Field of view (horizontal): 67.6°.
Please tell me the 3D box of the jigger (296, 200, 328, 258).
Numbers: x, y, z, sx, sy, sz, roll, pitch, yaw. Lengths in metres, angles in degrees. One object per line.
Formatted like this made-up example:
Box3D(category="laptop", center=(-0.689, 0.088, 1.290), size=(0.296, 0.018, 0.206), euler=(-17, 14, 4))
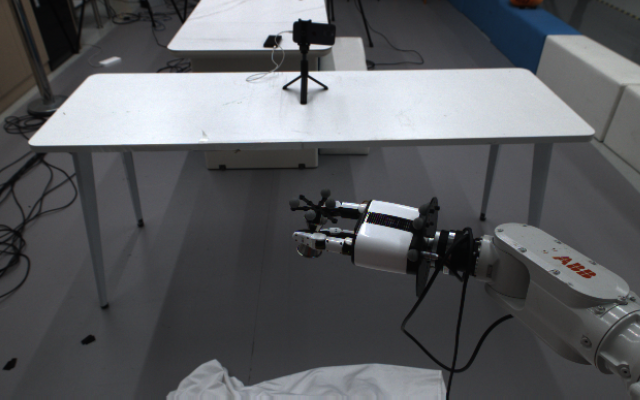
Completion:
Box3D(category="jigger", center=(-0.013, 0.056, 0.809), size=(0.043, 0.071, 0.043), euler=(9, 30, -5))
